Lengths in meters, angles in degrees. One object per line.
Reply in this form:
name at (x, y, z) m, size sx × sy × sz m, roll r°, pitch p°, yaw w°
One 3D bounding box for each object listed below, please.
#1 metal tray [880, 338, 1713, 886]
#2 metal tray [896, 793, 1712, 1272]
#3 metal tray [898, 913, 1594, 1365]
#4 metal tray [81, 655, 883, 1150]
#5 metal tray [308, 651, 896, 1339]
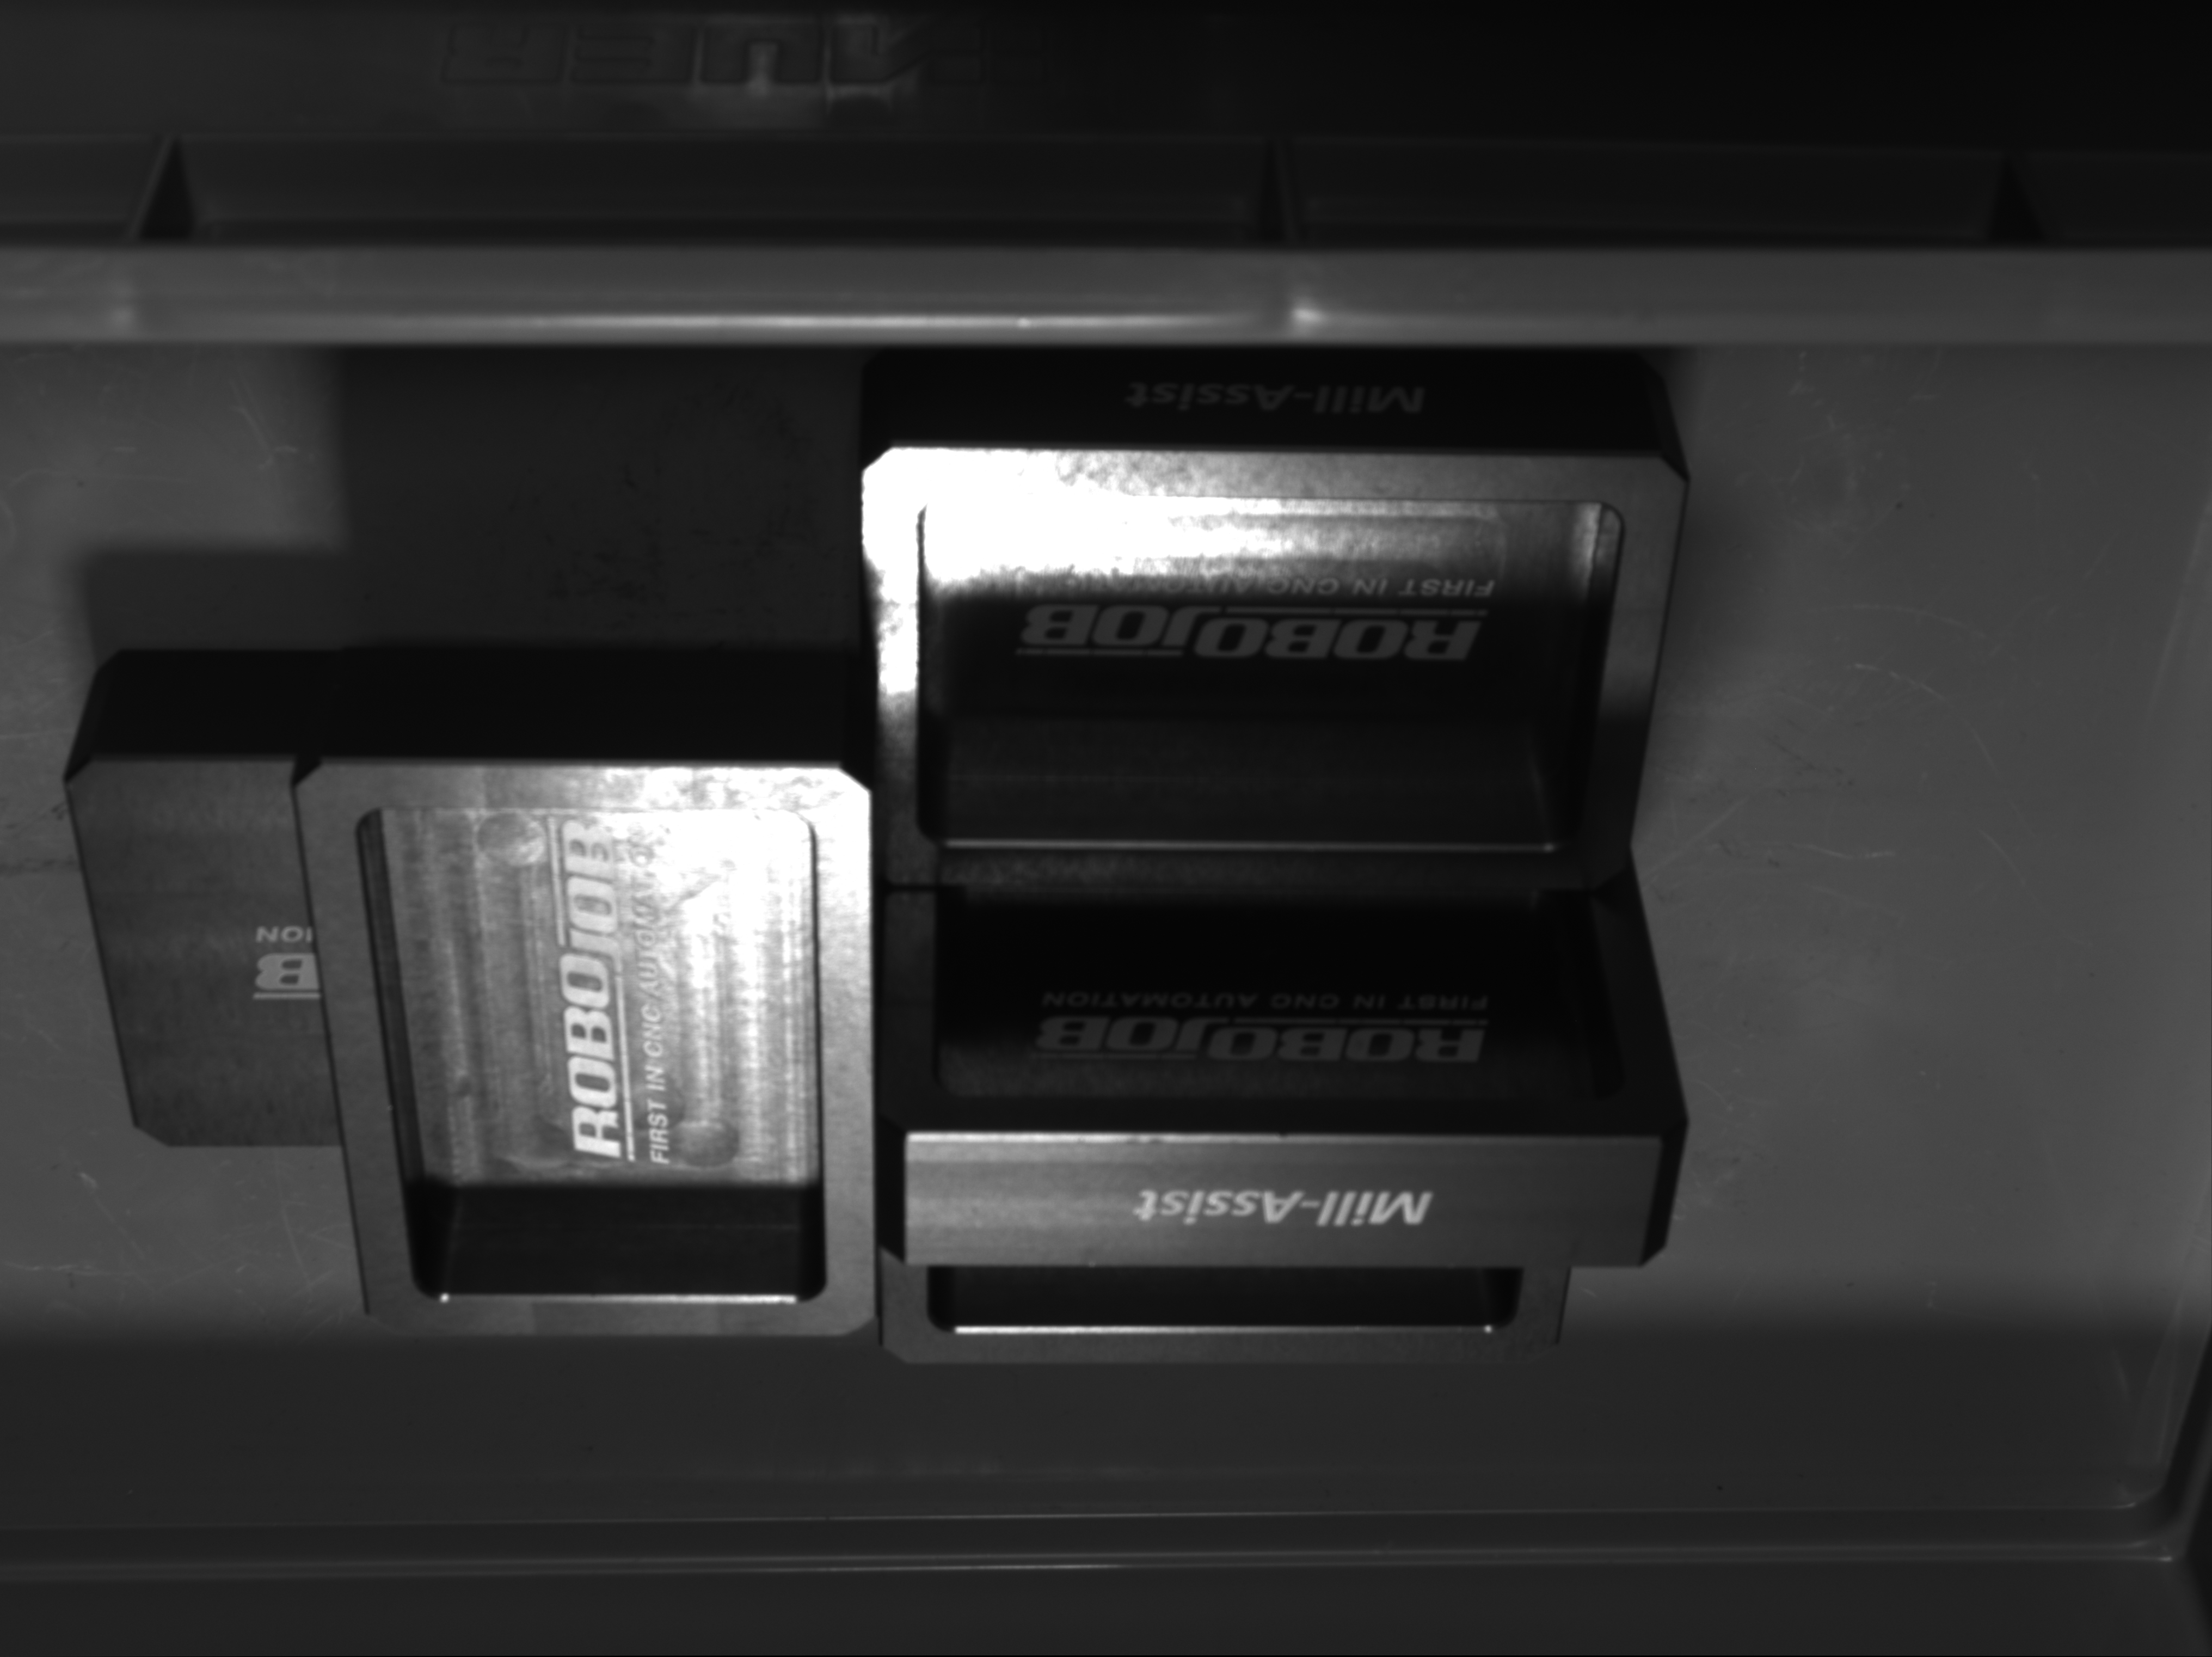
metal tray at (0.028, -0.034, 0.606) m, size 0.130 × 0.030 × 0.090 m, roll 1°, pitch 130°, yaw -2°
metal tray at (0.030, 0.032, 0.621) m, size 0.130 × 0.090 × 0.030 m, roll 1°, pitch 130°, yaw -2°
metal tray at (0.026, 0.059, 0.684) m, size 0.130 × 0.030 × 0.090 m, roll 0°, pitch 130°, yaw -2°
metal tray at (-0.104, 0.014, 0.640) m, size 0.130 × 0.030 × 0.090 m, roll 0°, pitch 130°, yaw -2°
metal tray at (-0.081, 0.031, 0.617) m, size 0.090 × 0.030 × 0.130 m, roll 1°, pitch 130°, yaw -2°
